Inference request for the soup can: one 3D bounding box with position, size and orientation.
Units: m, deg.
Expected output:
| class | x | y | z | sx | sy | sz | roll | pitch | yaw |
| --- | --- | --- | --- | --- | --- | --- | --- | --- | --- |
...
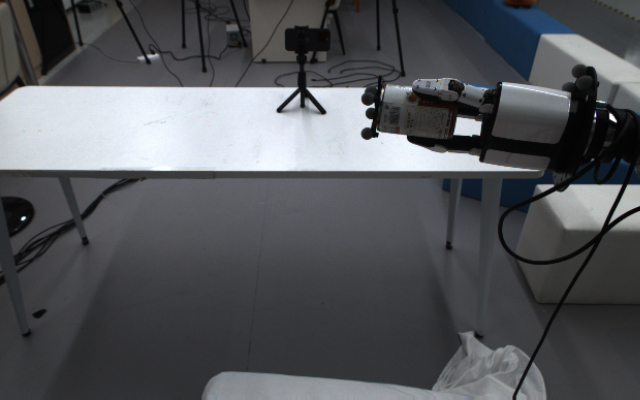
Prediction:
| class | x | y | z | sx | sy | sz | roll | pitch | yaw |
| --- | --- | --- | --- | --- | --- | --- | --- | --- | --- |
| soup can | 0.135 | -0.122 | 0.665 | 0.101 | 0.067 | 0.067 | 8 | 35 | 9 |
